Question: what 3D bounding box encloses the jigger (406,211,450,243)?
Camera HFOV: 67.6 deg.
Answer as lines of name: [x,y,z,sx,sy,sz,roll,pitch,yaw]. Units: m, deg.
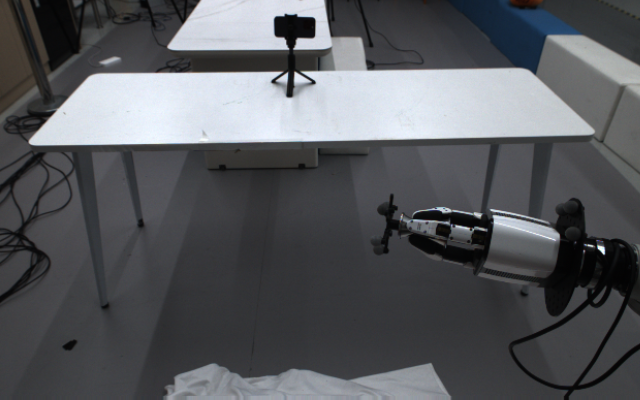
jigger: [0.155,0.037,0.689,0.071,0.043,0.043,8,35,15]
